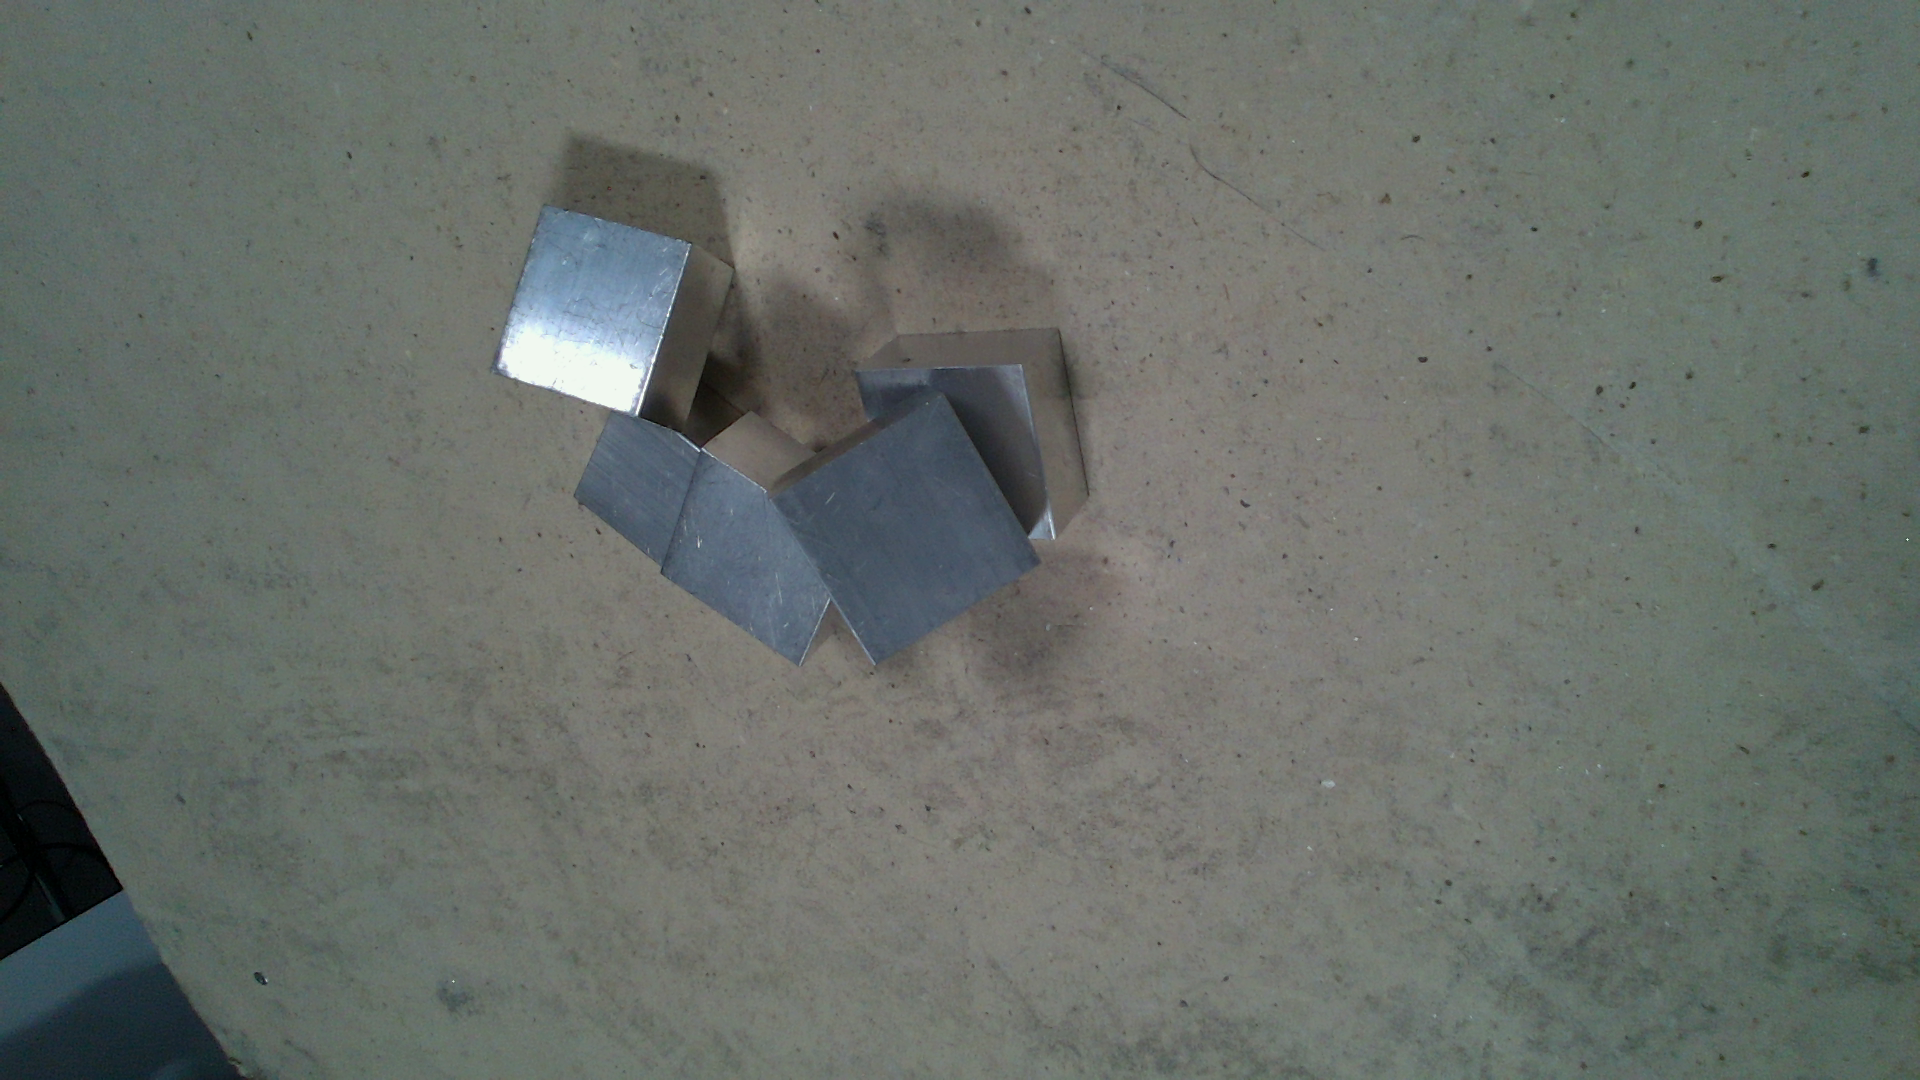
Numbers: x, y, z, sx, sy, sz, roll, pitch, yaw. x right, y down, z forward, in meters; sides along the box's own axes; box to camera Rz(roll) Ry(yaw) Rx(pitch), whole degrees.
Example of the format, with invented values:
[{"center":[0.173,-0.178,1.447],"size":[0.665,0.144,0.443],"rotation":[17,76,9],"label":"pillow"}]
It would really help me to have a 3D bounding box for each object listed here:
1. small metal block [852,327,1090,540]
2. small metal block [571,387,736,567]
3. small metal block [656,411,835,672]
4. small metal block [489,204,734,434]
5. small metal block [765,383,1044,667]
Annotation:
[{"center":[0.004,-0.029,0.373],"size":[0.050,0.025,0.050],"rotation":[2,119,27],"label":"small metal block"},{"center":[-0.087,-0.019,0.428],"size":[0.050,0.025,0.050],"rotation":[39,129,2],"label":"small metal block"},{"center":[-0.053,0.001,0.388],"size":[0.050,0.025,0.050],"rotation":[33,129,7],"label":"small metal block"},{"center":[-0.099,-0.063,0.392],"size":[0.050,0.025,0.050],"rotation":[17,89,18],"label":"small metal block"},{"center":[-0.015,-0.005,0.350],"size":[0.050,0.025,0.050],"rotation":[-32,104,-3],"label":"small metal block"}]
